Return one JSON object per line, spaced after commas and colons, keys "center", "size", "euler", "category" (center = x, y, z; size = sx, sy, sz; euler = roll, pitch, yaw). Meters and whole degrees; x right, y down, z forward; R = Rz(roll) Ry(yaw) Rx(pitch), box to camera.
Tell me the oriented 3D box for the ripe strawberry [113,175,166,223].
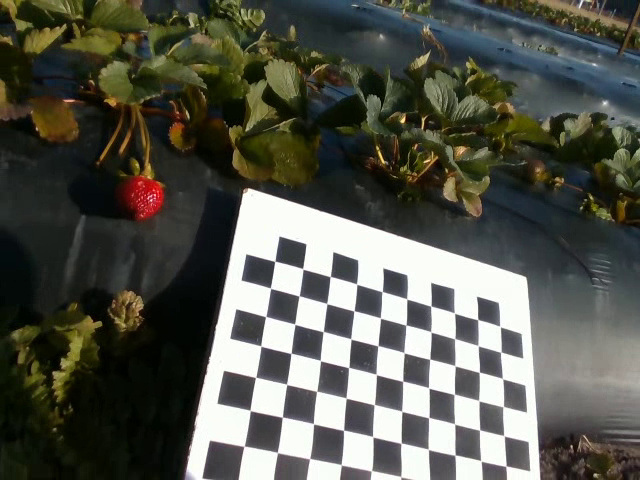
{"center": [-0.132, -0.029, 0.448], "size": [0.040, 0.044, 0.037], "euler": [-2, -38, -25], "category": "ripe strawberry"}
